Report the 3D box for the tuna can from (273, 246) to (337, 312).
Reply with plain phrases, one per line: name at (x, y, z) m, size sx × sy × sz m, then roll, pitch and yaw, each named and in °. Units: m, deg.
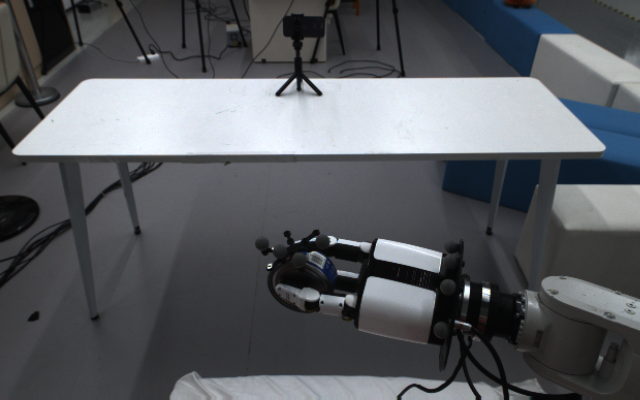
tuna can at (-0.018, 0.106, 0.614) m, size 0.085 × 0.085 × 0.034 m, roll 10°, pitch 33°, yaw 11°
